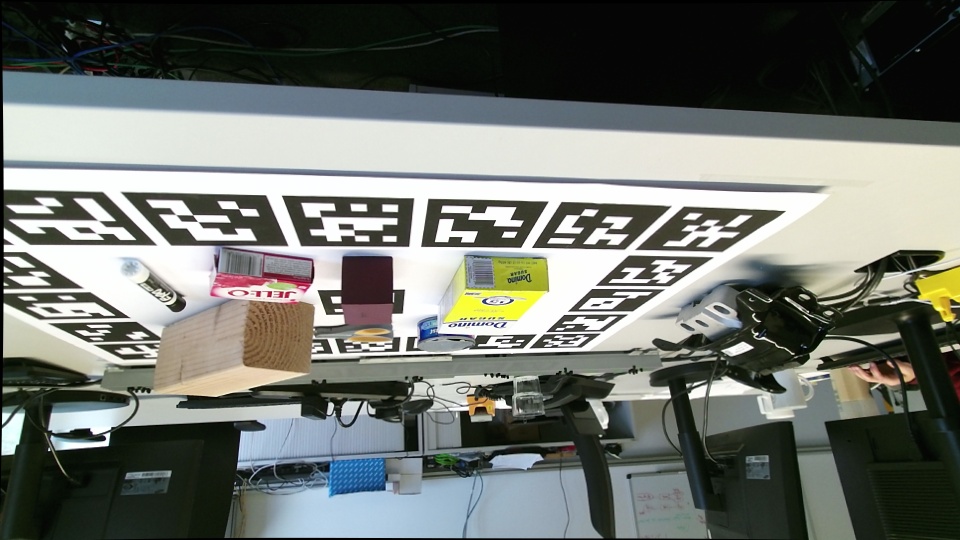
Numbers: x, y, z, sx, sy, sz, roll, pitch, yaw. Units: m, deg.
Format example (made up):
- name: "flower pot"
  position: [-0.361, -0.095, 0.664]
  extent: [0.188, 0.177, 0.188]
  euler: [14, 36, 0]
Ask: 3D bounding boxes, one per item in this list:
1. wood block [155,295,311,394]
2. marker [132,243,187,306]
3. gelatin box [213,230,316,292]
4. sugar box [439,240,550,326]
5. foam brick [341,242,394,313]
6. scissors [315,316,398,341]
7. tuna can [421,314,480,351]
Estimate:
- name: "wood block"
  position: [-0.319, 0.093, 0.684]
  extent: [0.207, 0.090, 0.090]
  euler: [-20, 153, 31]
- name: "marker"
  position: [-0.337, 0.009, 0.569]
  extent: [0.020, 0.019, 0.121]
  euler: [0, 153, -12]
- name: "gelatin box"
  position: [-0.223, -0.006, 0.552]
  extent: [0.090, 0.030, 0.073]
  euler: [8, 152, -28]
- name: "sugar box"
  position: [0.010, 0.022, 0.649]
  extent: [0.093, 0.045, 0.176]
  euler: [2, 155, -14]
- name: "foam brick"
  position: [-0.120, 0.010, 0.574]
  extent: [0.053, 0.051, 0.078]
  euler: [0, 154, -13]
- name: "scissors"
  position: [-0.218, 0.087, 0.776]
  extent: [0.204, 0.016, 0.088]
  euler: [1, 155, -19]
- name: "tuna can"
  position: [-0.044, 0.093, 0.796]
  extent: [0.086, 0.033, 0.086]
  euler: [-5, 155, -2]
